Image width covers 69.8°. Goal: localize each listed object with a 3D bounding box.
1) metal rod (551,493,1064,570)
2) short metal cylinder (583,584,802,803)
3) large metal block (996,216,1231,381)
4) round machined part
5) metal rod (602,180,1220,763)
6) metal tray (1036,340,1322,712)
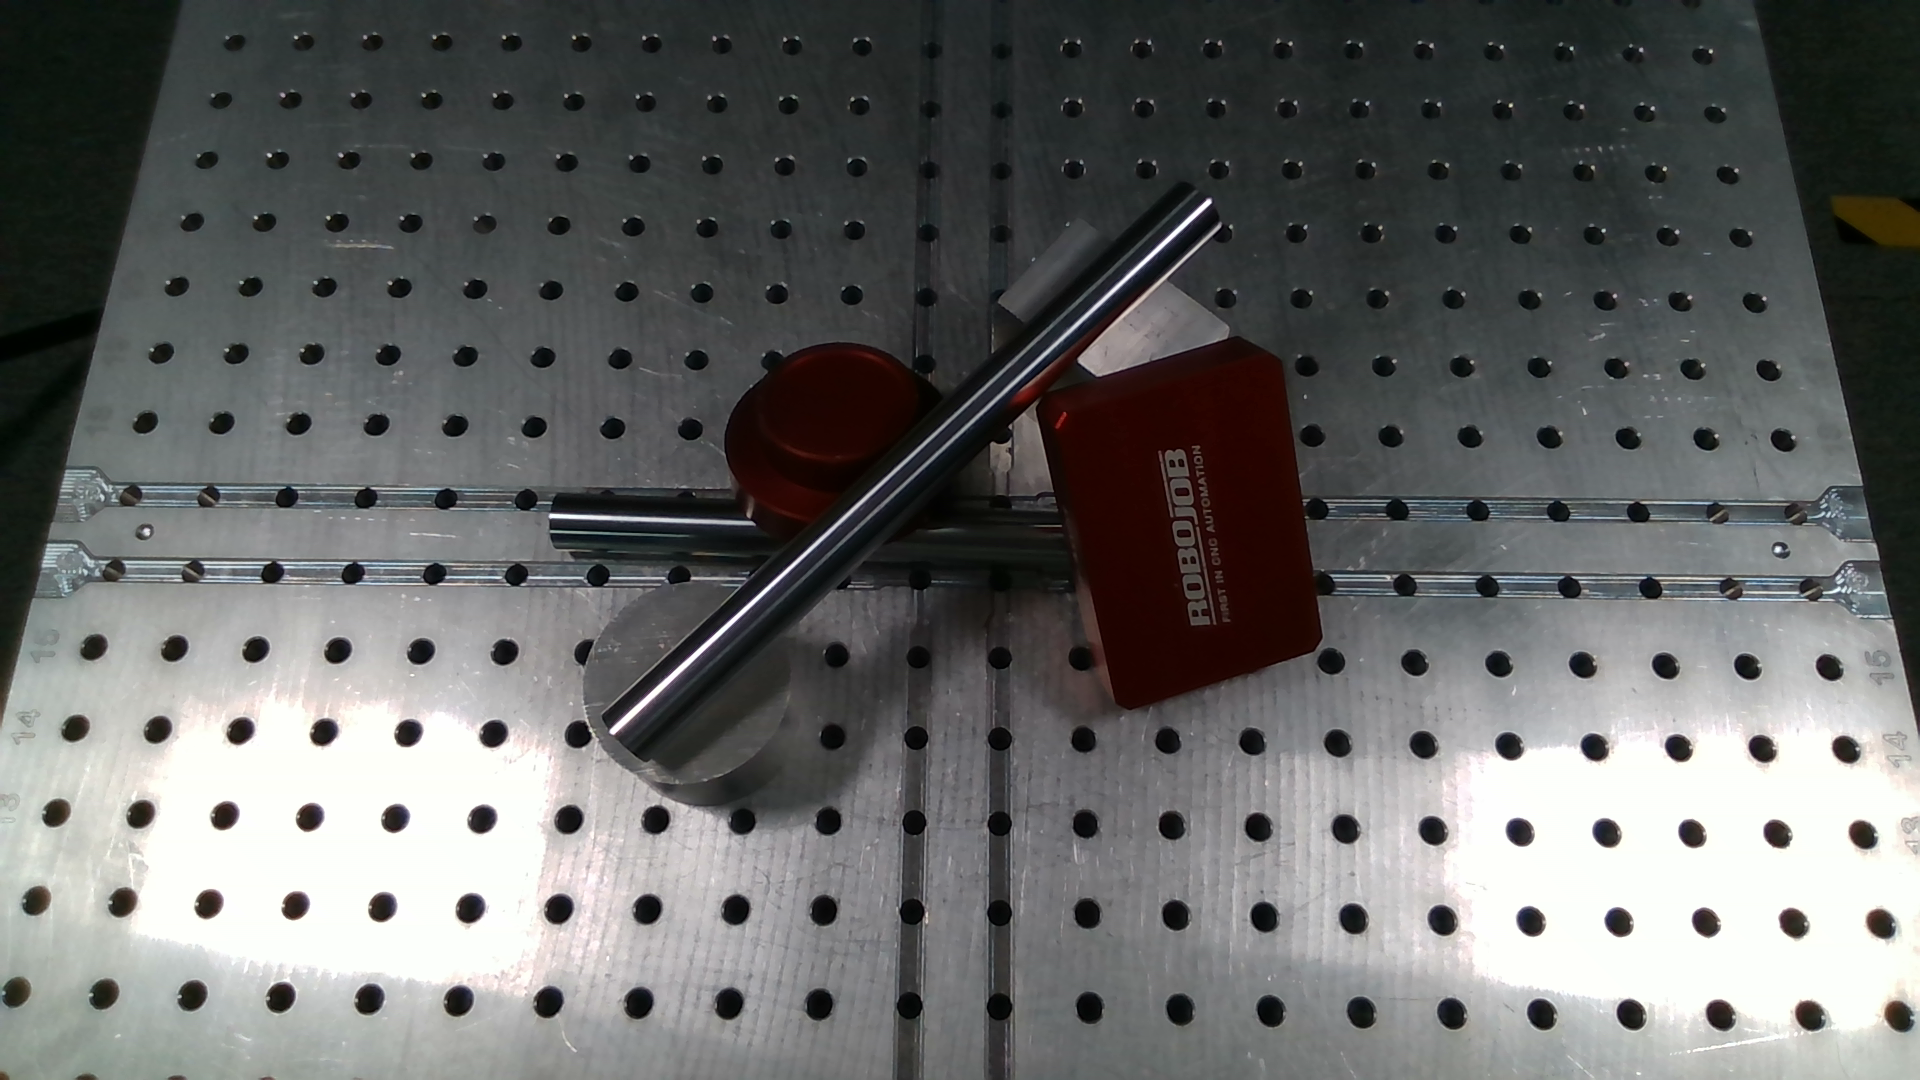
[{"bbox_3d":[-0.023,-0.002,0.591,0.300,0.025,0.025,2,70,1],"label":"metal rod"},{"bbox_3d":[-0.106,0.063,0.555,0.080,0.050,0.080,0,70,0],"label":"short metal cylinder"},{"bbox_3d":[0.062,-0.077,0.590,0.080,0.080,0.050,39,75,13],"label":"large metal block"},{"bbox_3d":[-0.051,-0.045,0.581,0.098,0.042,0.098,0,53,0],"label":"round machined part"},{"bbox_3d":[-0.015,-0.029,0.526,0.300,0.025,0.025,-43,76,-6],"label":"metal rod"},{"bbox_3d":[0.089,-0.005,0.548,0.090,0.030,0.130,-17,113,-6],"label":"metal tray"}]
